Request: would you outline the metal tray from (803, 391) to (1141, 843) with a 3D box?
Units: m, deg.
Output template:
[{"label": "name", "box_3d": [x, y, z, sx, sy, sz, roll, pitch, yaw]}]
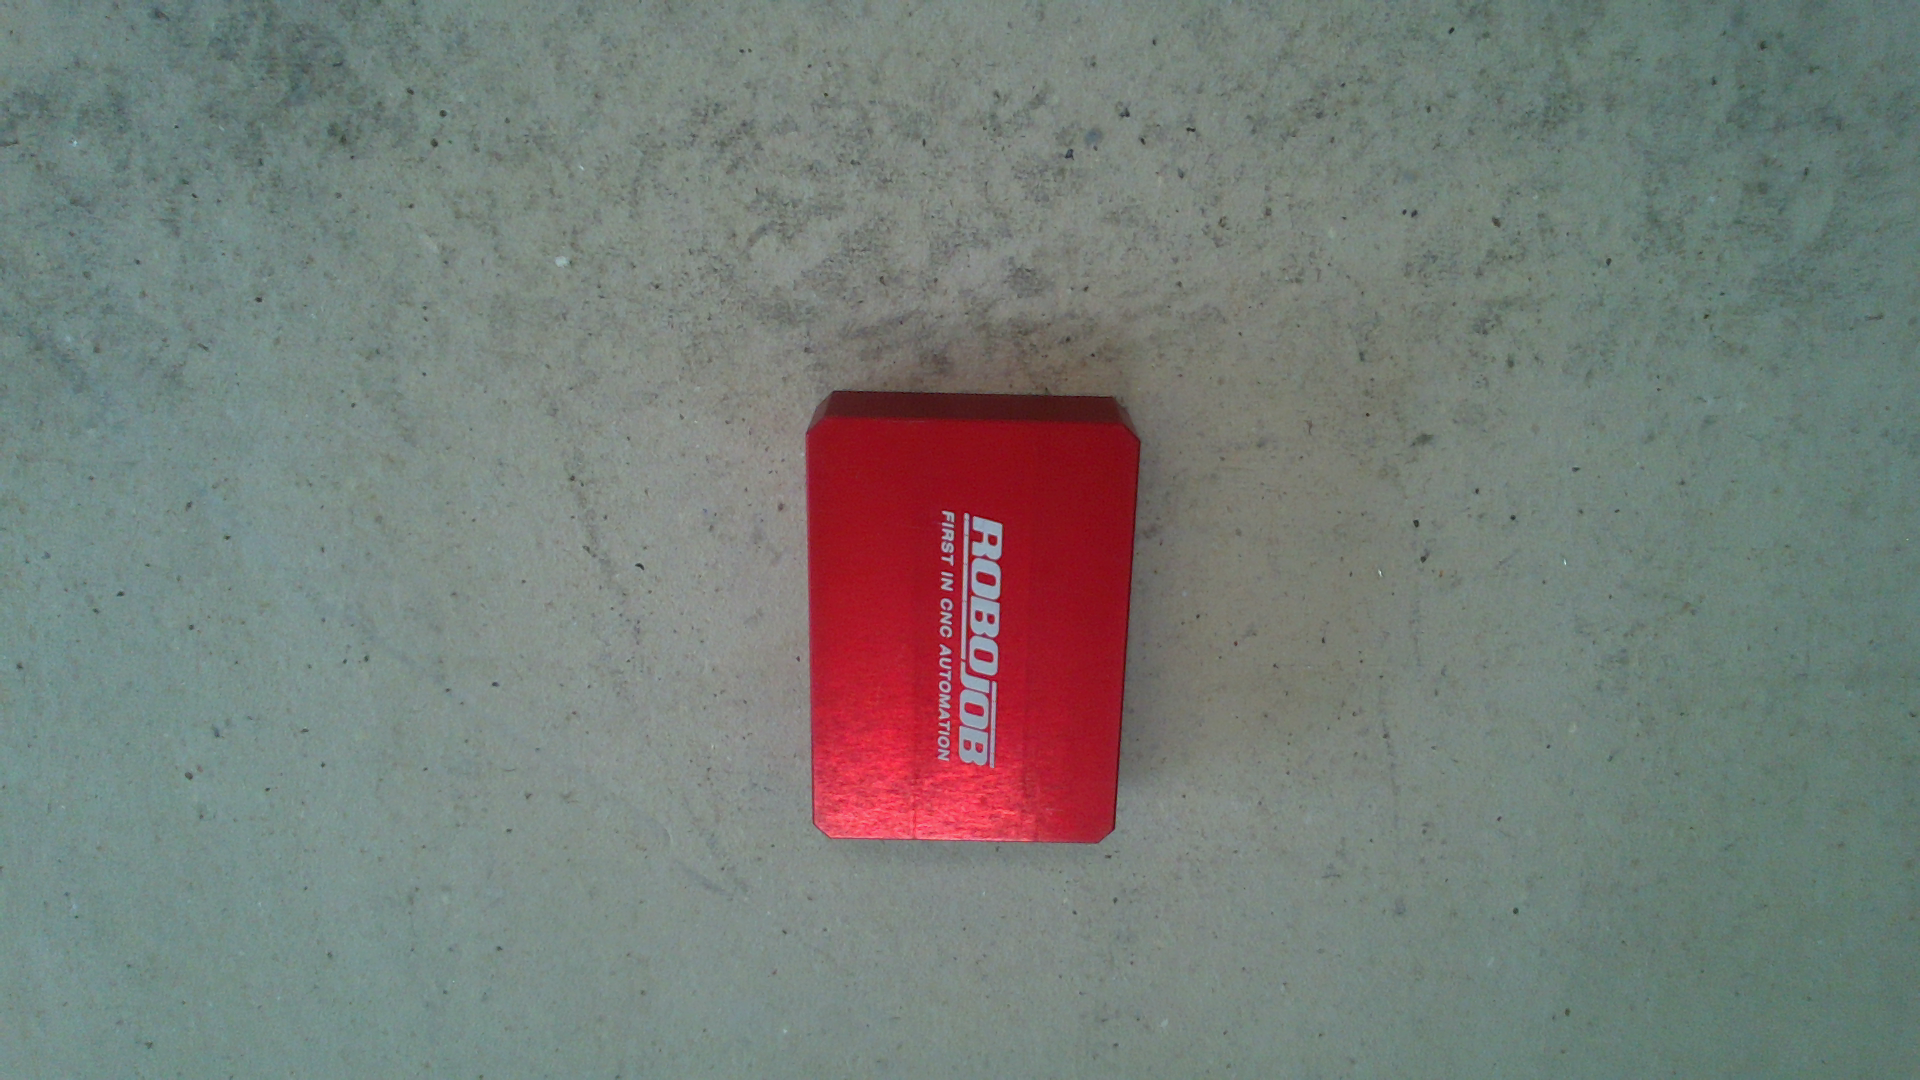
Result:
[{"label": "metal tray", "box_3d": [0.002, 0.024, 0.400, 0.090, 0.030, 0.130, 1, 111, -1]}]
